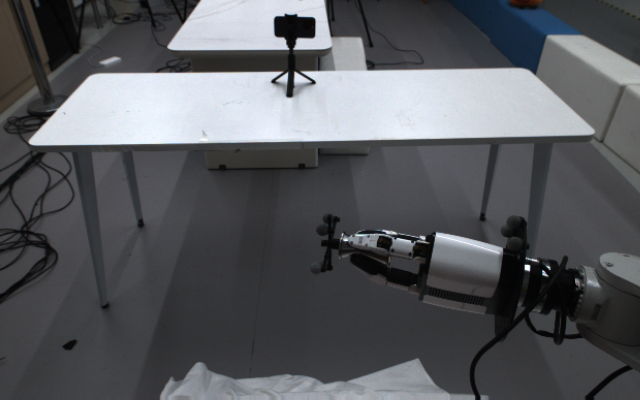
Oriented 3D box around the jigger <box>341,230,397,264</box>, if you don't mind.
[{"bbox_3d":[0.069,0.062,0.658,0.071,0.043,0.043,6,35,13],"label":"jigger"}]
